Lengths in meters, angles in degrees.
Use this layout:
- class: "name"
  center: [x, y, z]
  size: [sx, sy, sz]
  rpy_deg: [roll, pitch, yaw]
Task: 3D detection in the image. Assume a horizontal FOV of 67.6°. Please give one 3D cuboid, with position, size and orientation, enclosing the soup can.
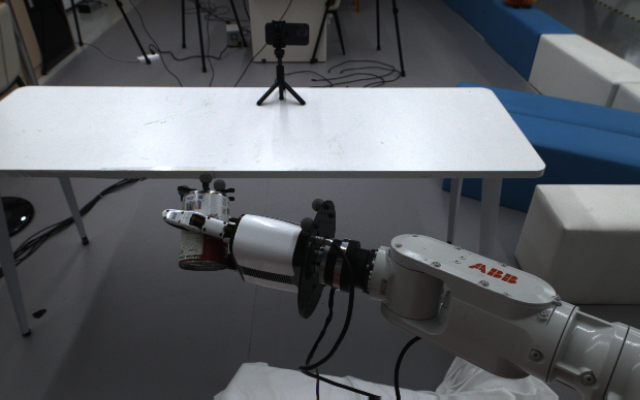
- class: "soup can"
  center: [-0.160, 0.045, 0.677]
  size: [0.067, 0.067, 0.101]
  rpy_deg: [-1, 71, -5]
